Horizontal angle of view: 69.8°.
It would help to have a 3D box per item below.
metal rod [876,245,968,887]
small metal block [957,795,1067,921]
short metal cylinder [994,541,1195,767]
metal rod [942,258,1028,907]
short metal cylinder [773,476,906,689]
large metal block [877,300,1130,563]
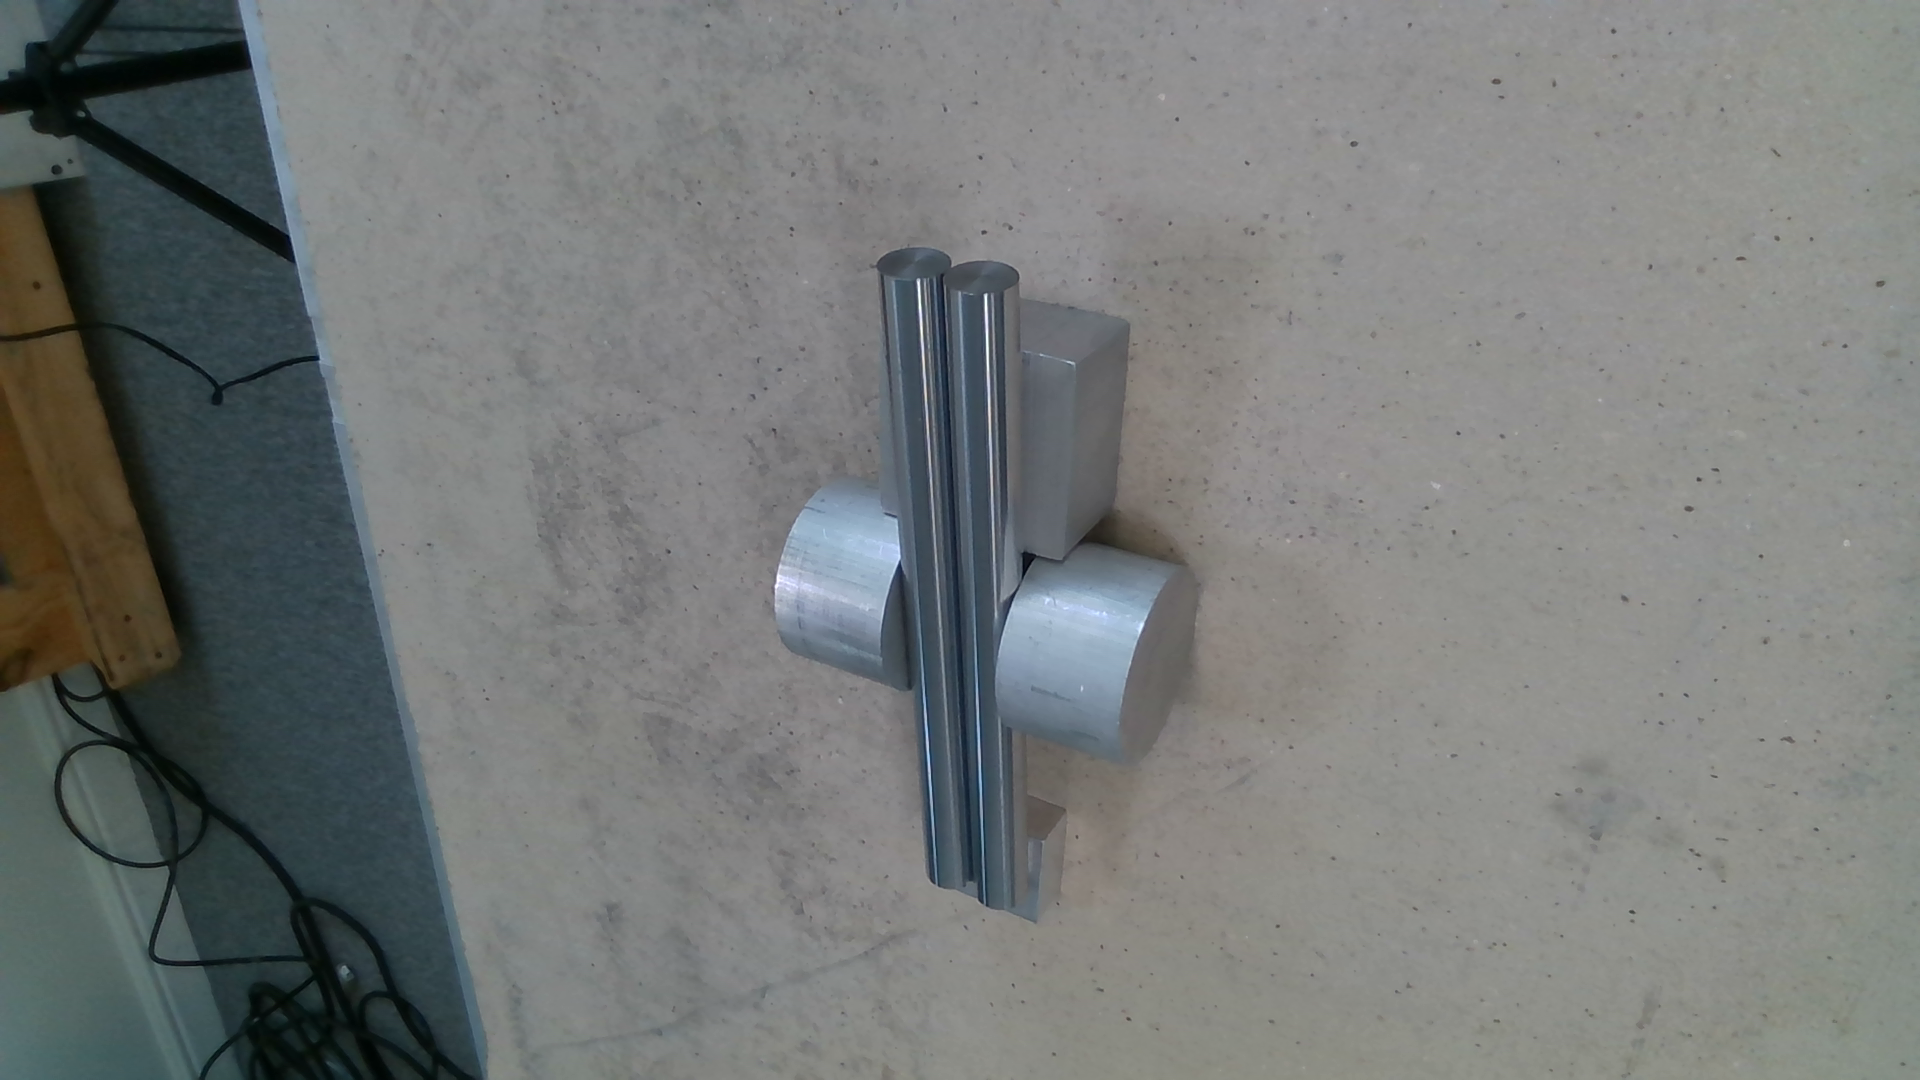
[{"bbox_3d":[-0.009,0.029,0.544,0.025,0.025,0.301,16,130,24],"label":"metal rod"},{"bbox_3d":[0.020,0.144,0.647,0.050,0.025,0.050,17,122,23],"label":"small metal block"},{"bbox_3d":[0.054,0.042,0.535,0.050,0.080,0.080,16,122,24],"label":"short metal cylinder"},{"bbox_3d":[0.013,0.035,0.534,0.025,0.025,0.301,16,130,24],"label":"metal rod"},{"bbox_3d":[-0.034,0.017,0.575,0.050,0.080,0.080,16,122,24],"label":"short metal cylinder"},{"bbox_3d":[0.015,-0.047,0.530,0.080,0.050,0.080,16,122,24],"label":"large metal block"}]
